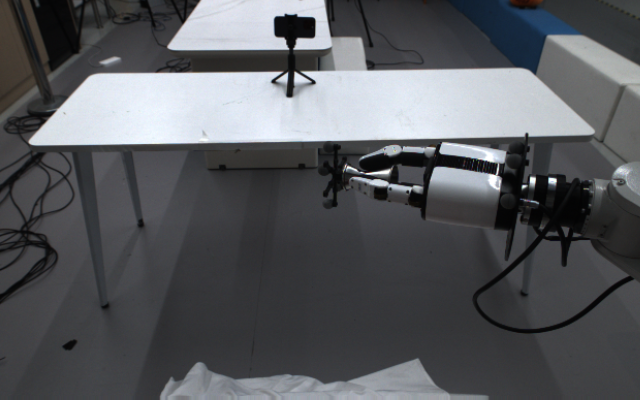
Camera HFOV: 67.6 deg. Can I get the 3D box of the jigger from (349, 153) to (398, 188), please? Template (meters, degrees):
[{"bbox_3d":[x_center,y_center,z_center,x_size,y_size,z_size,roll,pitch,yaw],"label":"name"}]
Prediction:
[{"bbox_3d":[0.075,-0.032,0.662,0.071,0.043,0.043,6,34,22],"label":"jigger"}]
